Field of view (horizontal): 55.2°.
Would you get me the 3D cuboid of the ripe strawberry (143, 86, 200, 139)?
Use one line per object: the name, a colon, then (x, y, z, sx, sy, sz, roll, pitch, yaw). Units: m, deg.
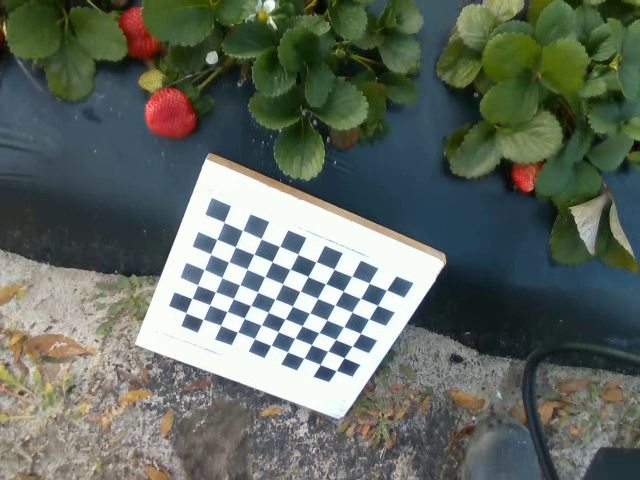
ripe strawberry: (-0.069, -0.054, 0.274, 0.022, 0.025, 0.030, 21, 38, 20)
